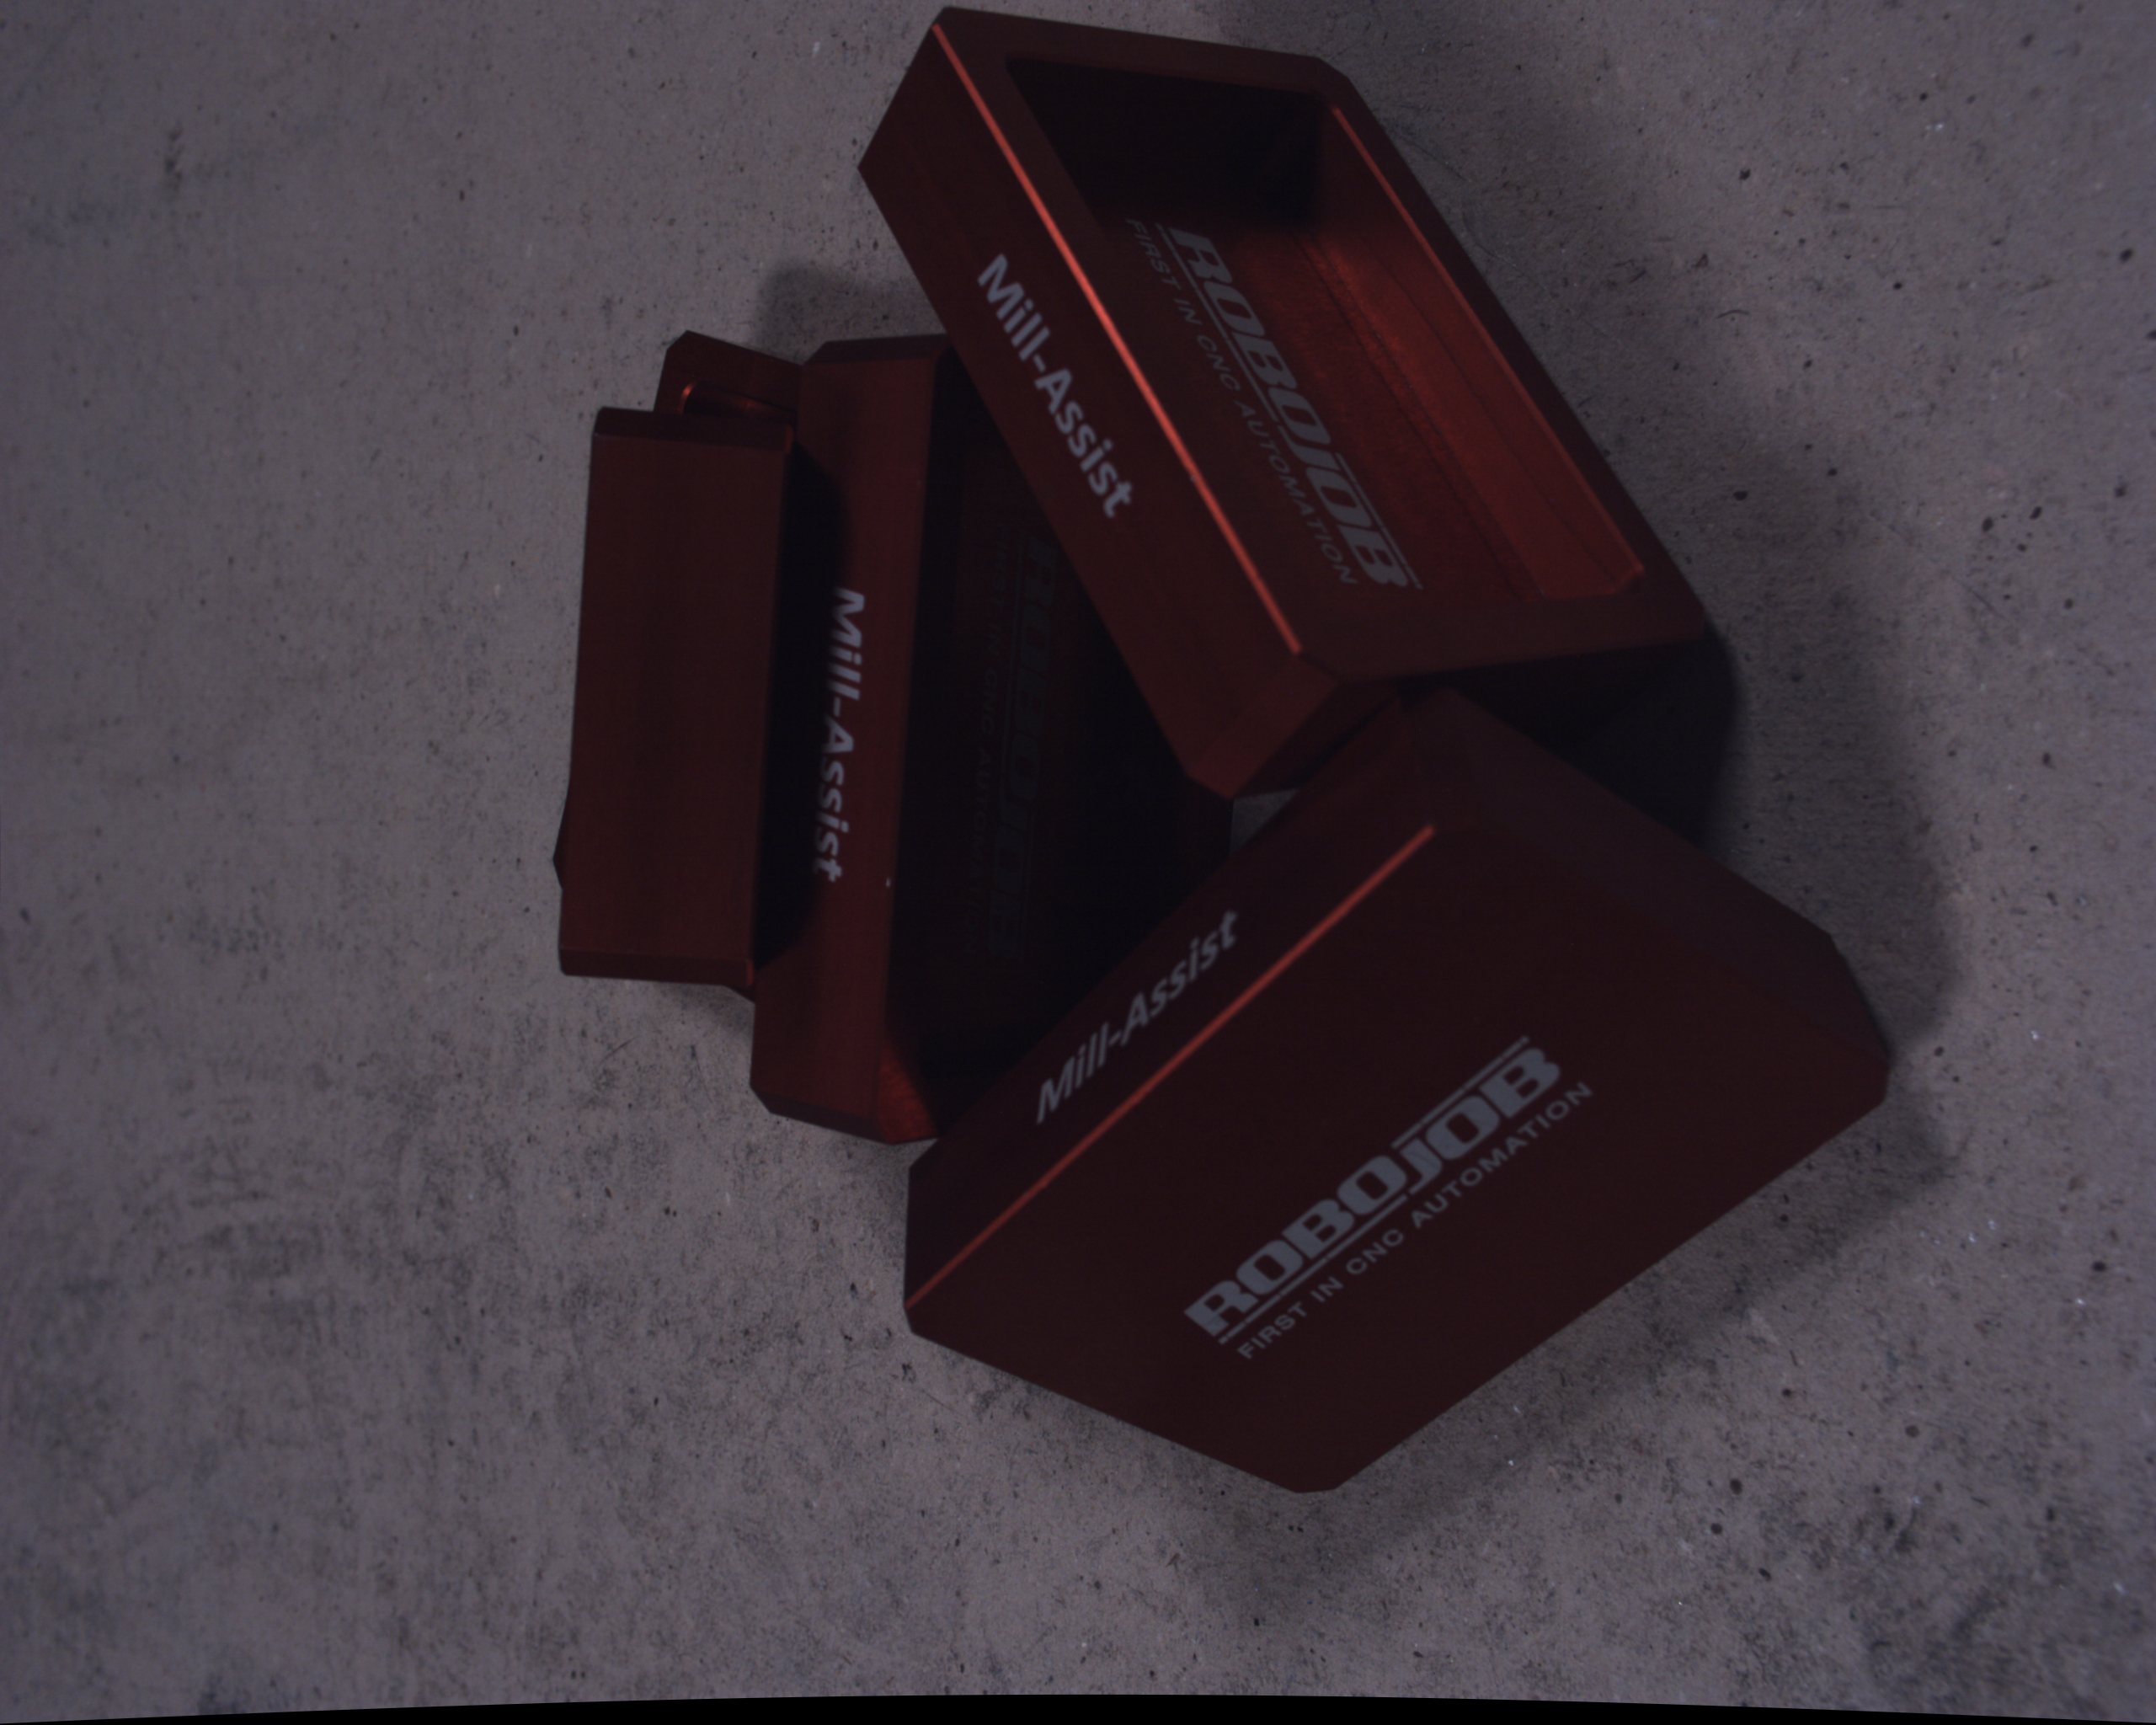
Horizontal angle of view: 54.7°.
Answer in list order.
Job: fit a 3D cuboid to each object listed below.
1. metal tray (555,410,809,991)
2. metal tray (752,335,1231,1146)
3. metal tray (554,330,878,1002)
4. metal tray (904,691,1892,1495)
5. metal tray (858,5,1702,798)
[{"bbox_3d":[-0.070,-0.030,0.388,0.130,0.030,0.089,-140,54,-83],"label":"metal tray"},{"bbox_3d":[-0.010,-0.021,0.371,0.030,0.091,0.129,8,96,39],"label":"metal tray"},{"bbox_3d":[-0.063,-0.041,0.453,0.090,0.030,0.129,25,106,36],"label":"metal tray"},{"bbox_3d":[0.045,0.043,0.325,0.129,0.090,0.030,-46,28,30],"label":"metal tray"},{"bbox_3d":[0.032,-0.076,0.333,0.030,0.091,0.130,-49,60,45],"label":"metal tray"}]
